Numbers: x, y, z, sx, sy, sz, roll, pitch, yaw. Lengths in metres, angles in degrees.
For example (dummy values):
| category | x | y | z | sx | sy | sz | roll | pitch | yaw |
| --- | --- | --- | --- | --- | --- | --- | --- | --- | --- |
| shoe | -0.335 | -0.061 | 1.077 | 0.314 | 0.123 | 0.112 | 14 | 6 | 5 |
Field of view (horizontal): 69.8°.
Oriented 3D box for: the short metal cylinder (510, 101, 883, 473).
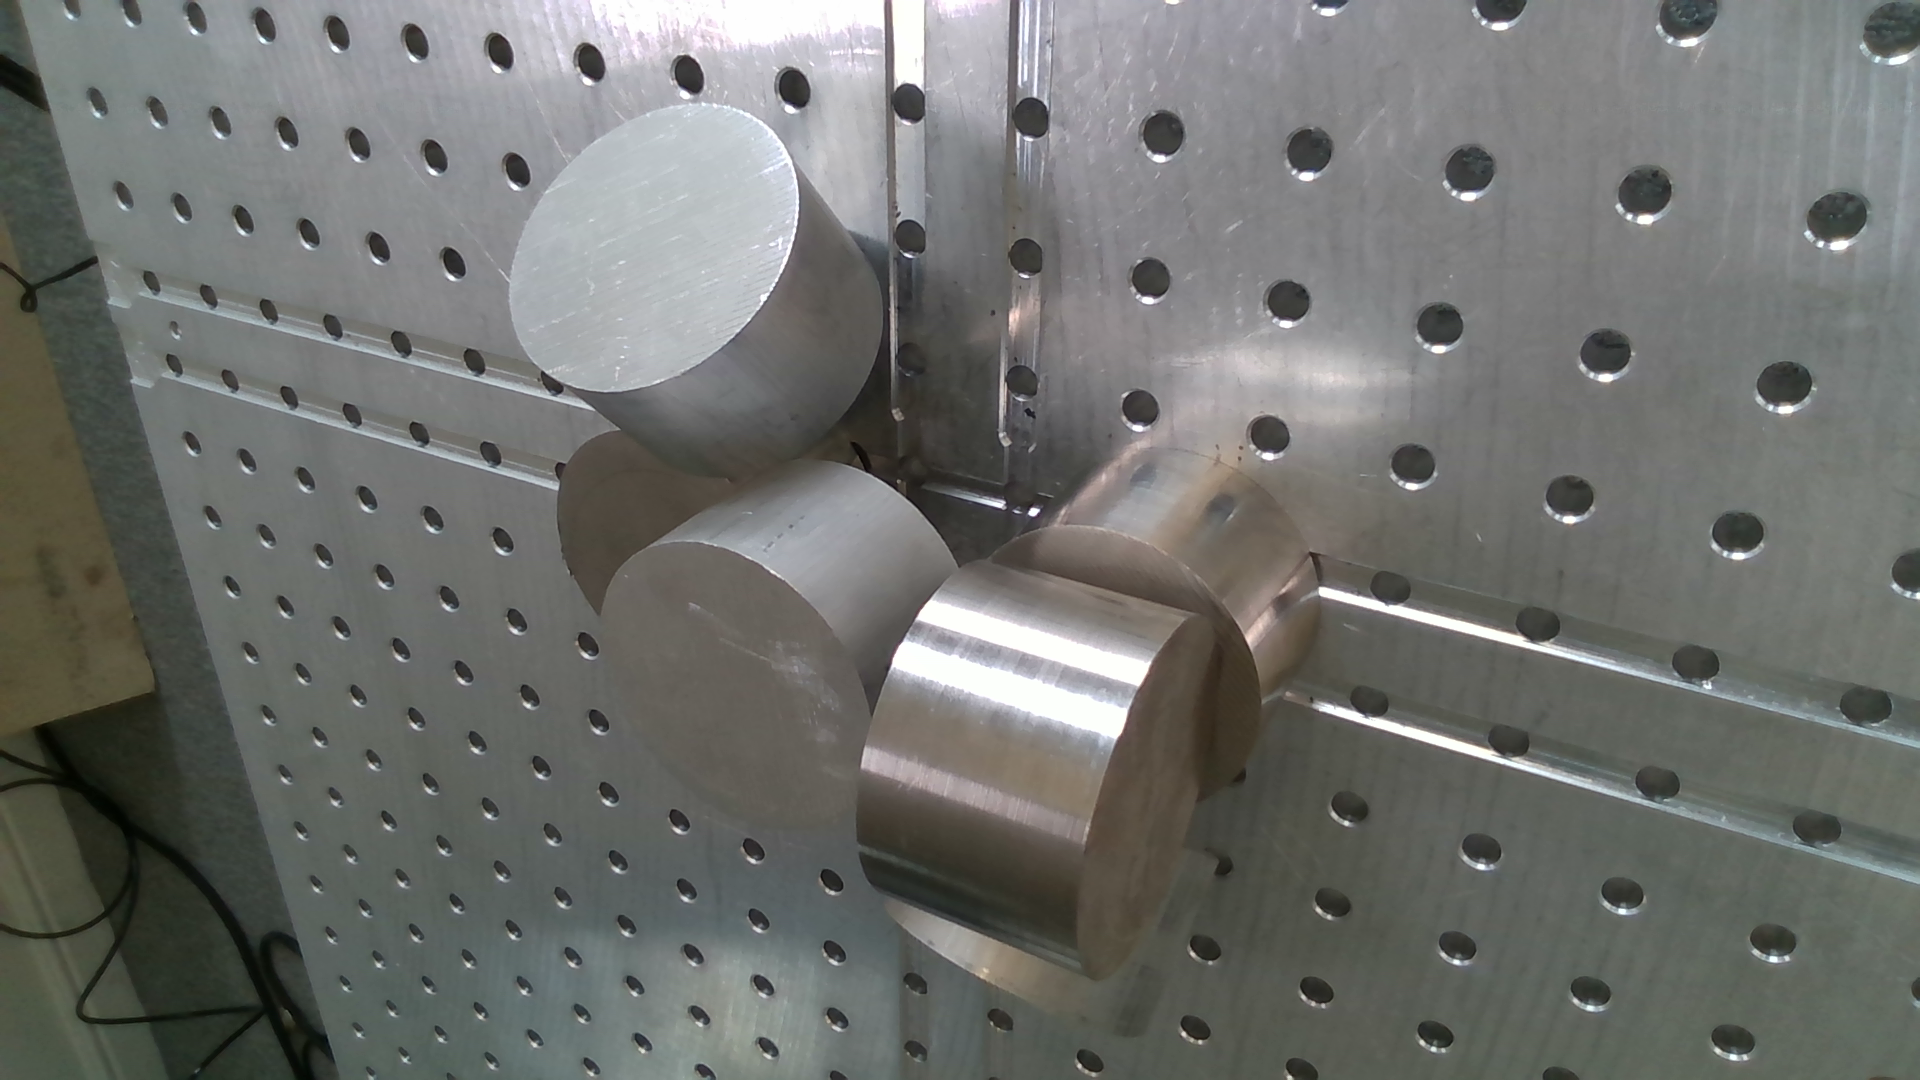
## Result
| category | x | y | z | sx | sy | sz | roll | pitch | yaw |
| --- | --- | --- | --- | --- | --- | --- | --- | --- | --- |
| short metal cylinder | -0.067 | -0.064 | 0.355 | 0.080 | 0.080 | 0.050 | 12 | 165 | 26 |

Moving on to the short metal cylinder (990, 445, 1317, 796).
| category | x | y | z | sx | sy | sz | roll | pitch | yaw |
| --- | --- | --- | --- | --- | --- | --- | --- | --- | --- |
| short metal cylinder | 0.047 | 0.022 | 0.358 | 0.080 | 0.050 | 0.080 | 15 | 122 | 25 |

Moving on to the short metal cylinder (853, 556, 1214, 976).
| category | x | y | z | sx | sy | sz | roll | pitch | yaw |
| --- | --- | --- | --- | --- | --- | --- | --- | --- | --- |
| short metal cylinder | 0.019 | 0.048 | 0.305 | 0.050 | 0.080 | 0.080 | 15 | 122 | 25 |

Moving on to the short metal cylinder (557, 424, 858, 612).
| category | x | y | z | sx | sy | sz | roll | pitch | yaw |
| --- | --- | --- | --- | --- | --- | --- | --- | --- | --- |
| short metal cylinder | -0.074 | -0.006 | 0.417 | 0.080 | 0.050 | 0.080 | 15 | 122 | 25 |

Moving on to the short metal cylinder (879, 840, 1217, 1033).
| category | x | y | z | sx | sy | sz | roll | pitch | yaw |
| --- | --- | --- | --- | --- | --- | --- | --- | --- | --- |
| short metal cylinder | 0.024 | 0.094 | 0.384 | 0.080 | 0.080 | 0.050 | 24 | 85 | 19 |

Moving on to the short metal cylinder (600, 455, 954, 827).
| category | x | y | z | sx | sy | sz | roll | pitch | yaw |
| --- | --- | --- | --- | --- | --- | --- | --- | --- | --- |
| short metal cylinder | -0.044 | 0.025 | 0.350 | 0.080 | 0.050 | 0.080 | 15 | 122 | 25 |
